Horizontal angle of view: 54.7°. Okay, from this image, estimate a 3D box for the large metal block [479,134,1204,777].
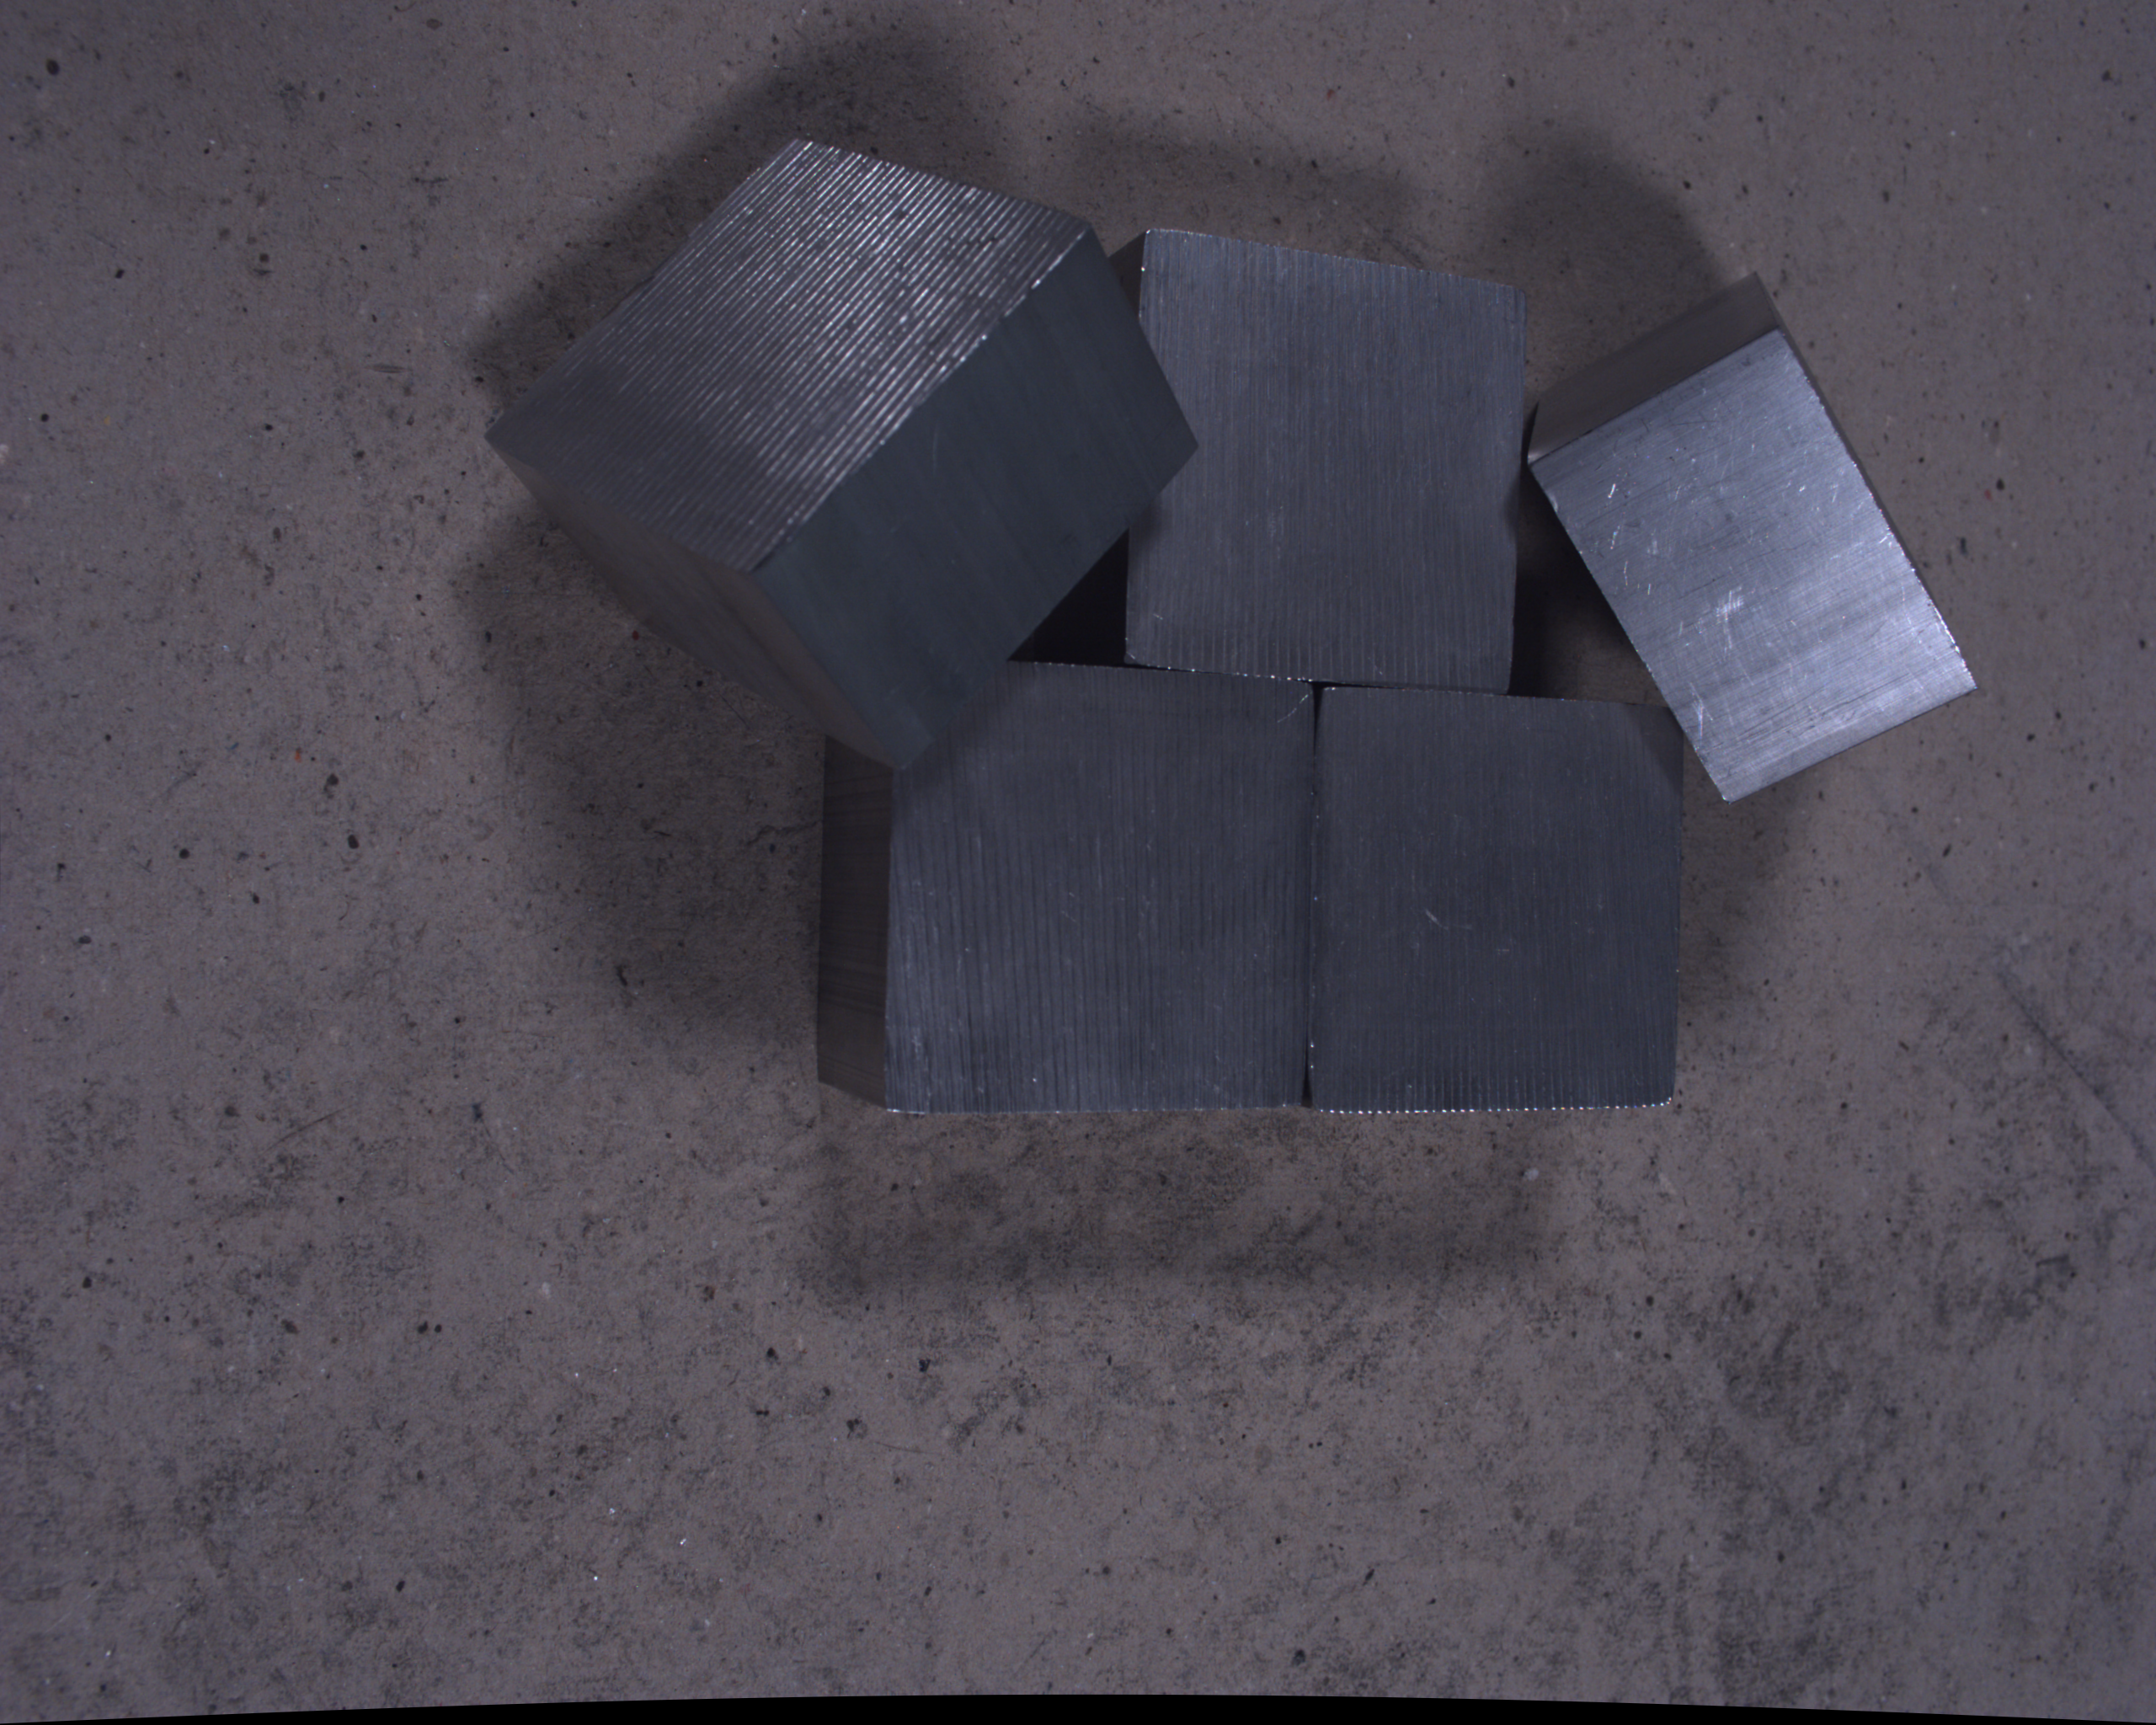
[{"bbox_3d":[-0.040,-0.073,0.359,0.080,0.080,0.050,-49,140,-14],"label":"large metal block"}]

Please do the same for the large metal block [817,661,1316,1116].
[{"bbox_3d":[-0.003,0.005,0.396,0.081,0.050,0.079,1,90,-21],"label":"large metal block"}]

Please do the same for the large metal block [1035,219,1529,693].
[{"bbox_3d":[0.039,-0.075,0.413,0.081,0.050,0.079,3,89,-20],"label":"large metal block"}]

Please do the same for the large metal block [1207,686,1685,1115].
[{"bbox_3d":[0.073,0.008,0.423,0.081,0.050,0.079,1,90,-21],"label":"large metal block"}]

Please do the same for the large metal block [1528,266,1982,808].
[{"bbox_3d":[0.136,-0.069,0.426,0.050,0.080,0.080,-28,103,23],"label":"large metal block"}]
